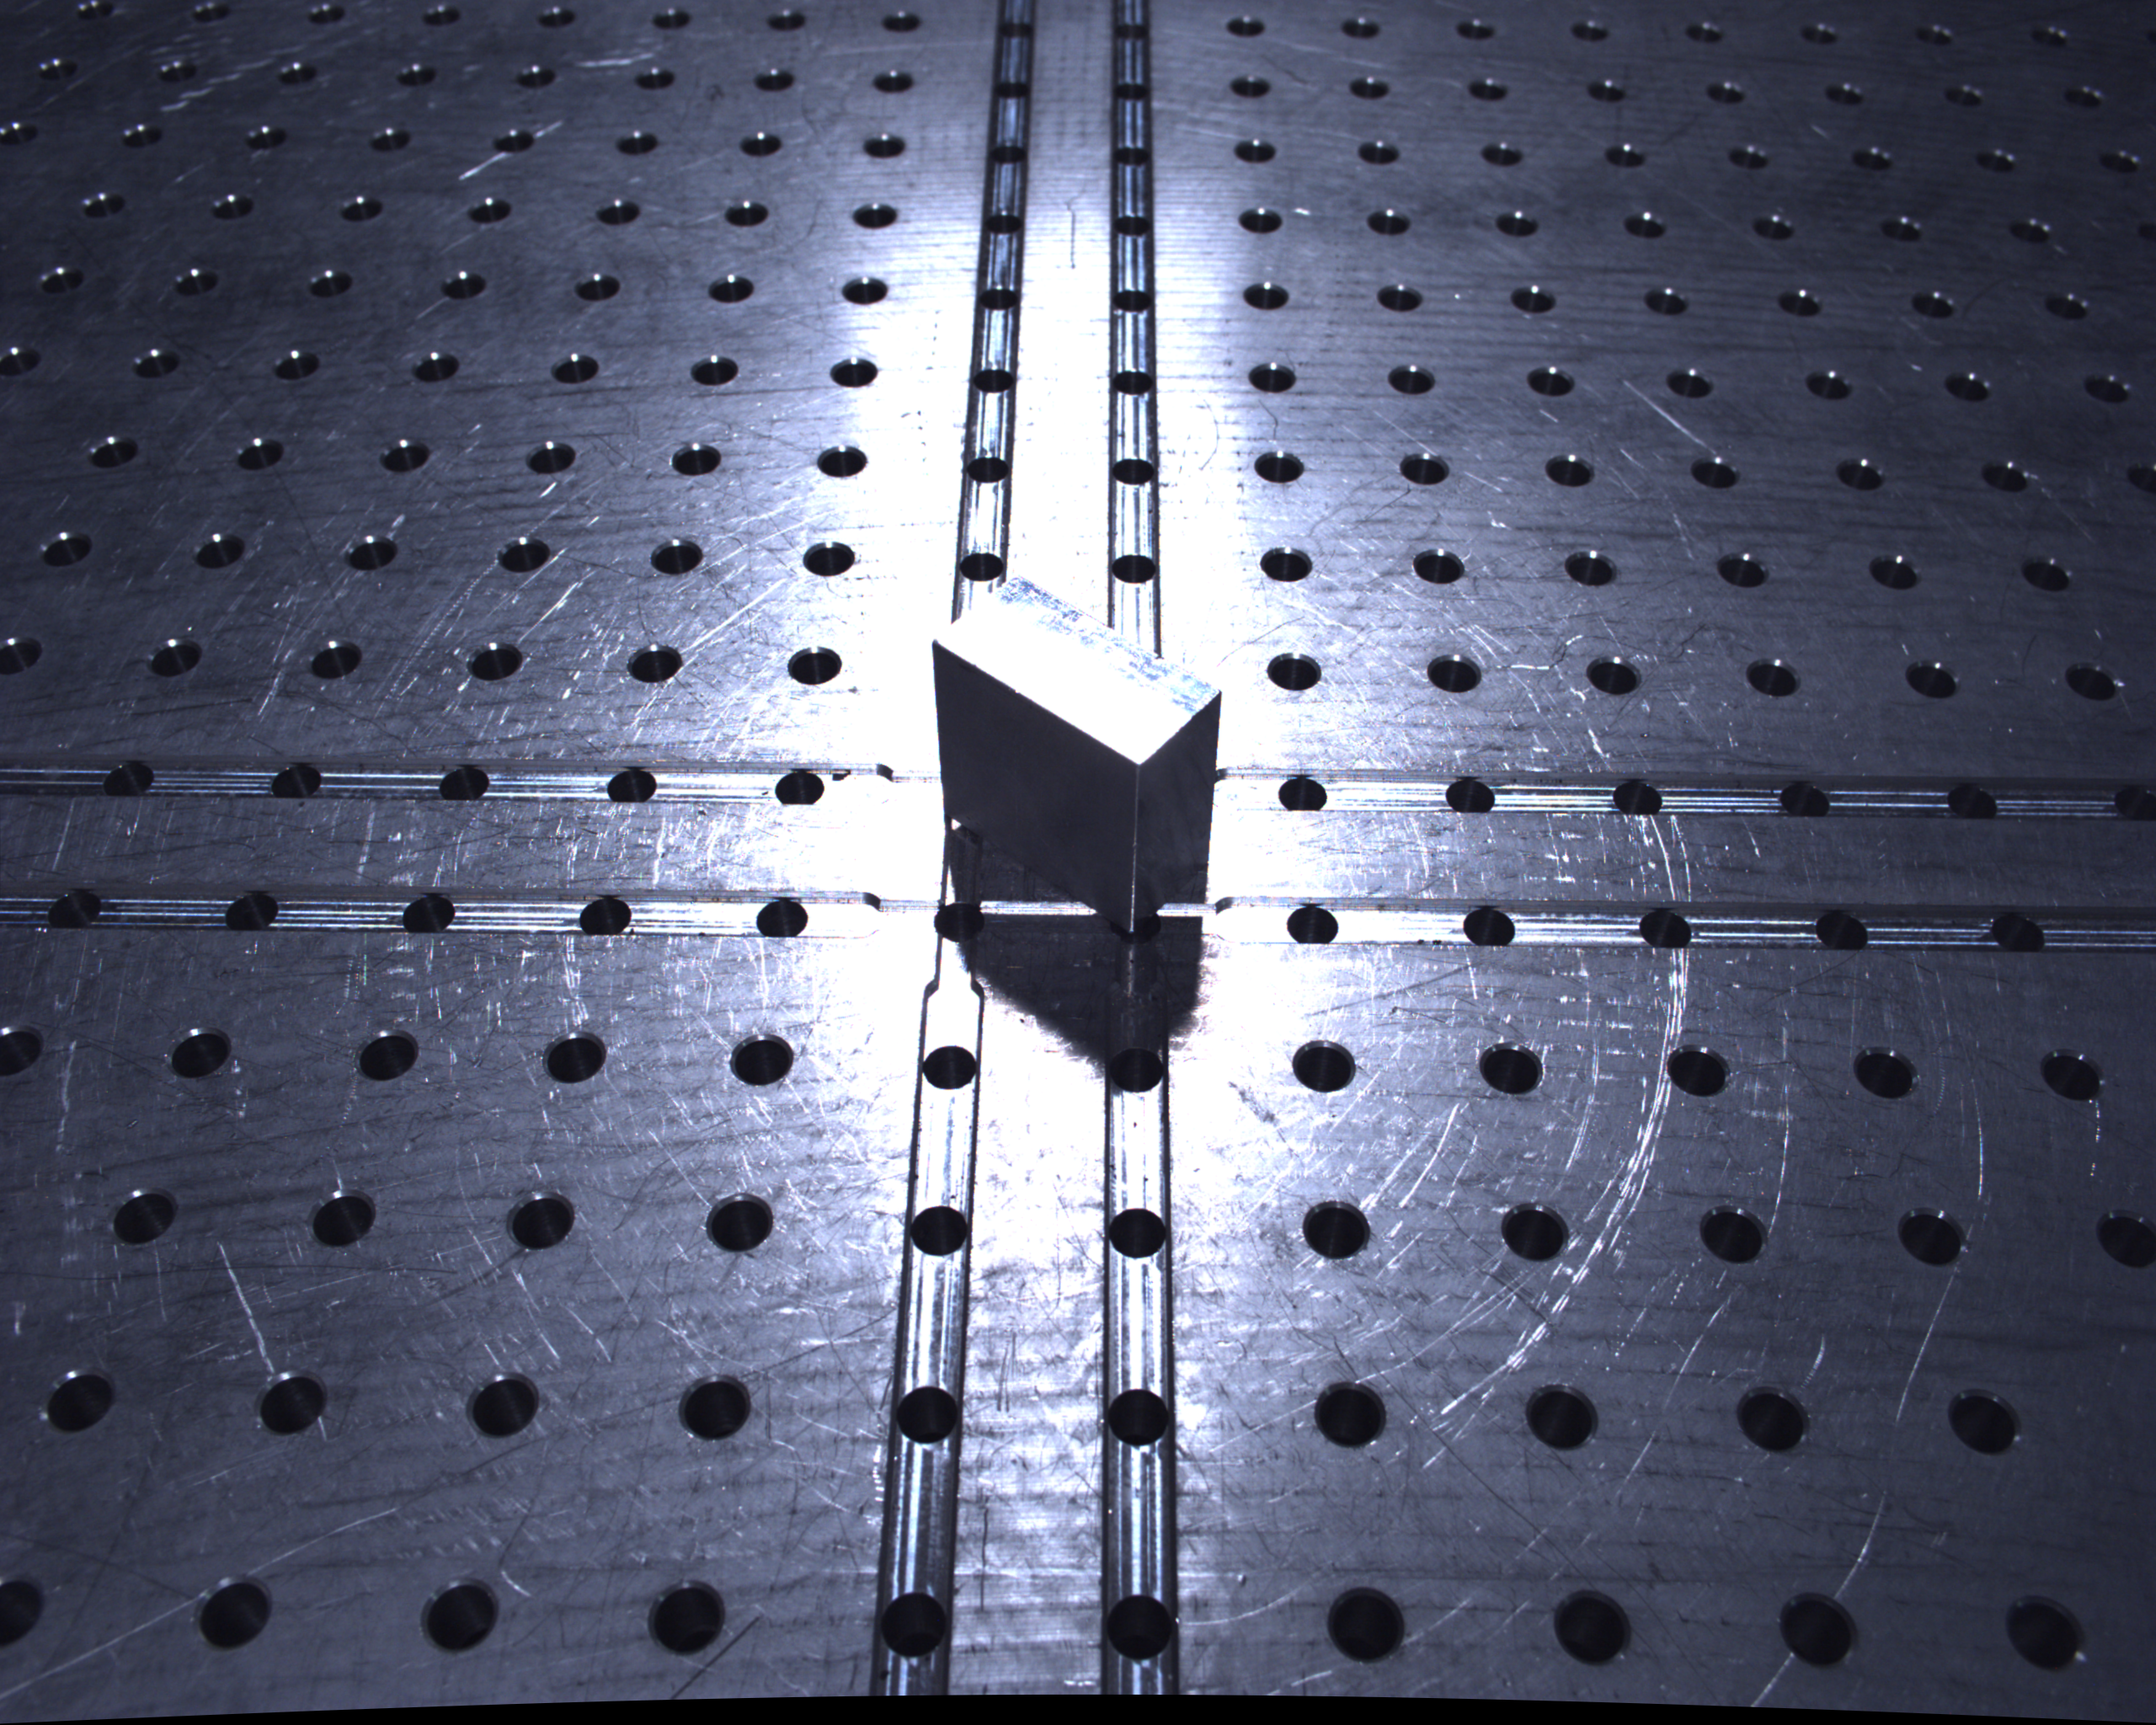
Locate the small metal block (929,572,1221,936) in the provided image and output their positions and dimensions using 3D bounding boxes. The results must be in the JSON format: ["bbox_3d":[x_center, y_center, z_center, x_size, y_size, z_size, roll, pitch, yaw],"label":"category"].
[{"bbox_3d":[-0.001,-0.021,0.409,0.050,0.050,0.025,33,57,24],"label":"small metal block"}]
